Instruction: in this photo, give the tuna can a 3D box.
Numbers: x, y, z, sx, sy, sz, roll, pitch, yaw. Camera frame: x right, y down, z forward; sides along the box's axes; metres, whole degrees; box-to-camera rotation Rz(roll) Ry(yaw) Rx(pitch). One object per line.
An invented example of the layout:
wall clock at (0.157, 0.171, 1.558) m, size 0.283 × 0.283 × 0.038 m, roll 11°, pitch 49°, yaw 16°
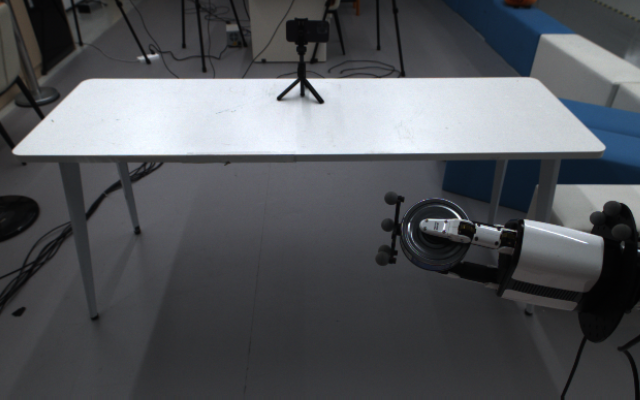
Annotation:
tuna can at (0.144, 0.039, 0.590) m, size 0.085 × 0.034 × 0.085 m, roll -2°, pitch 68°, yaw 6°
